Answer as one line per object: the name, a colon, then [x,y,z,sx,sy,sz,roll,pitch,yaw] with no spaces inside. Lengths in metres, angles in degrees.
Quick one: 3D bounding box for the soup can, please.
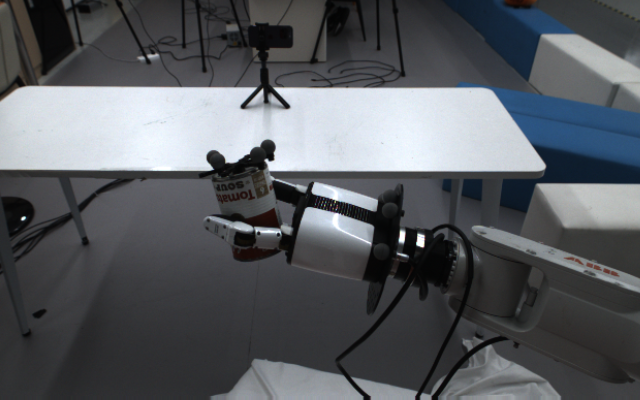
soup can: [-0.080,0.012,0.568,0.067,0.101,0.067,-12,17,4]
